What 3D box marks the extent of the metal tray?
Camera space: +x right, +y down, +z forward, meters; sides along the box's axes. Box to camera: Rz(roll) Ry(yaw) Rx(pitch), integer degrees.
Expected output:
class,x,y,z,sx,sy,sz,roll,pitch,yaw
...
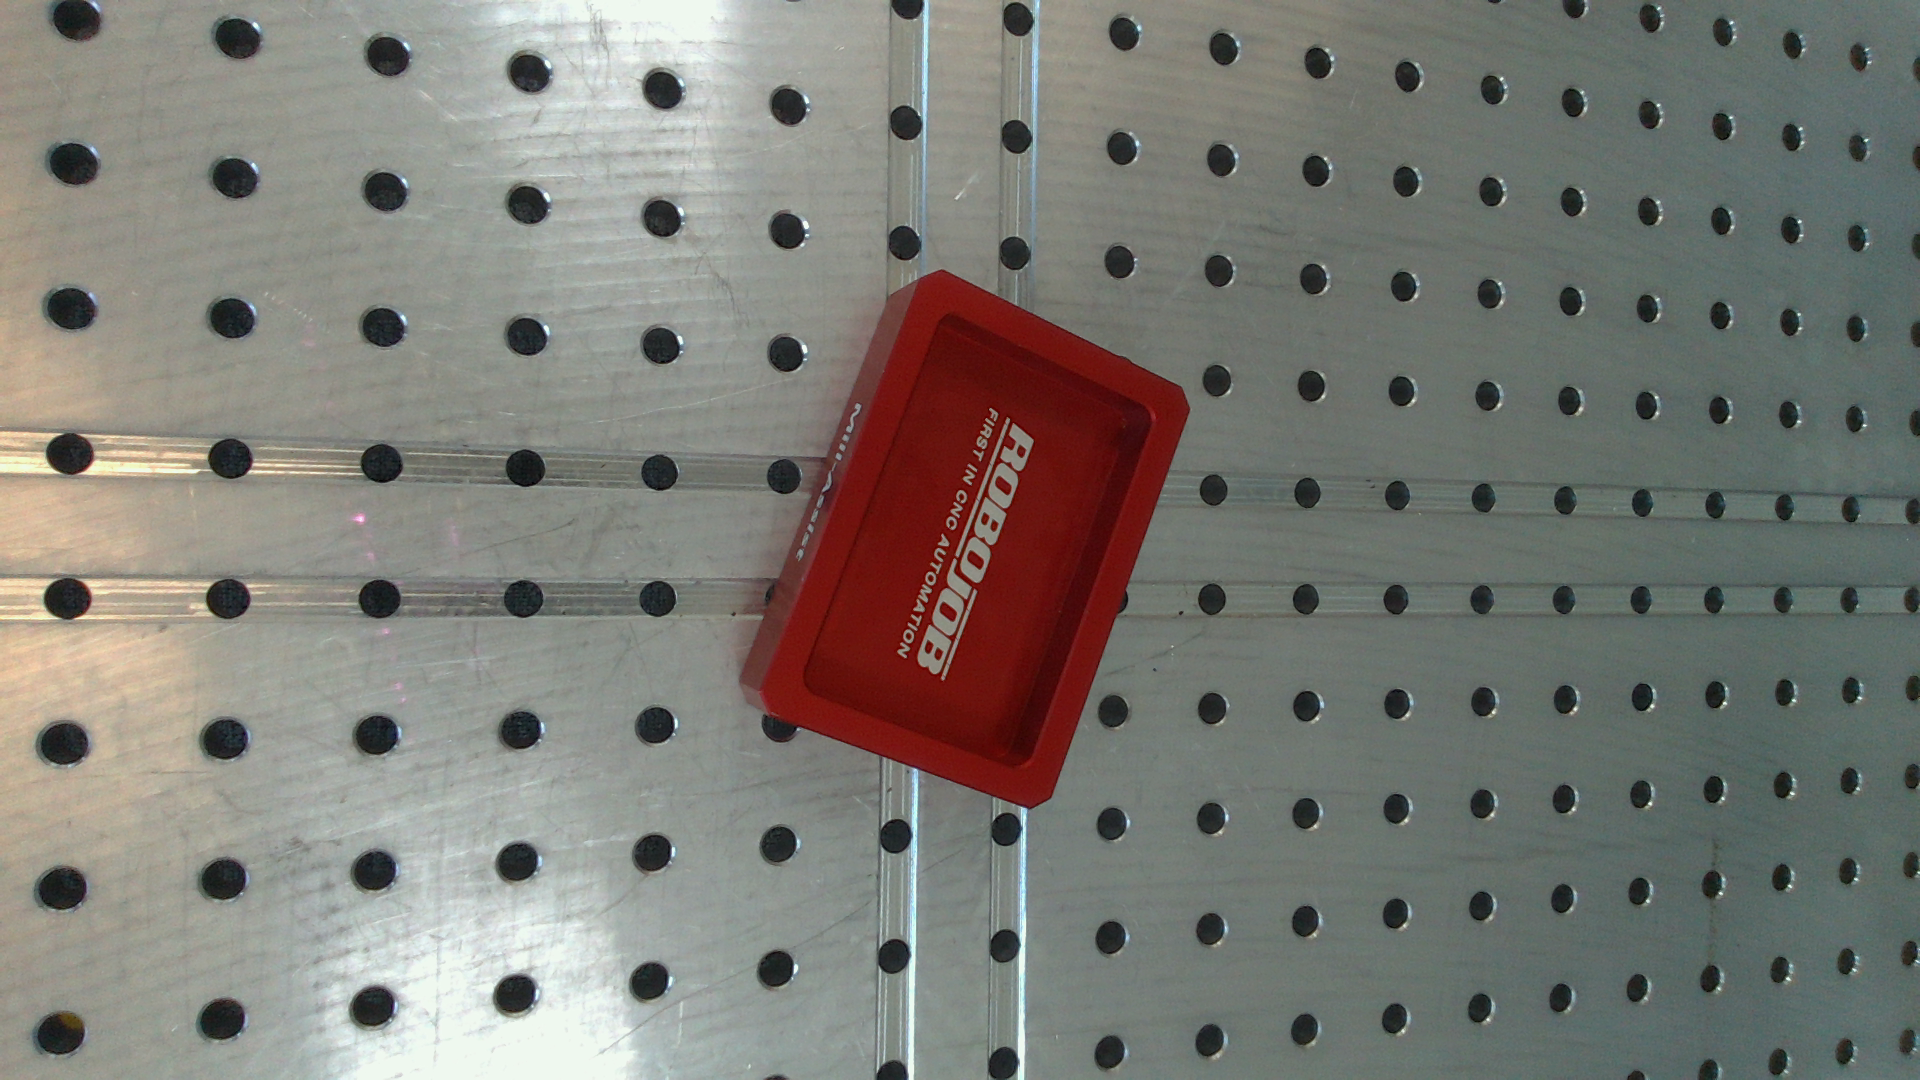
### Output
class,x,y,z,sx,sy,sz,roll,pitch,yaw
metal tray,0.003,0.001,0.394,0.090,0.030,0.130,23,83,-19
